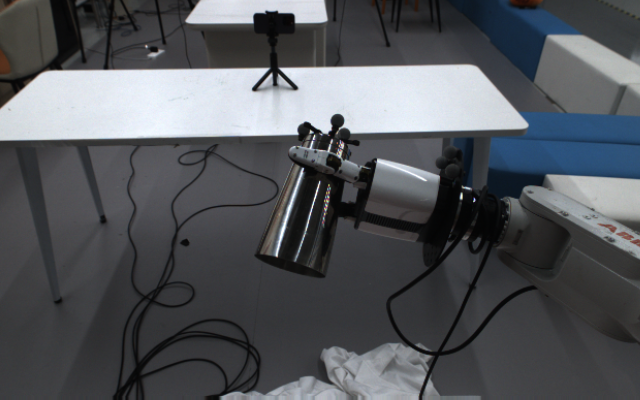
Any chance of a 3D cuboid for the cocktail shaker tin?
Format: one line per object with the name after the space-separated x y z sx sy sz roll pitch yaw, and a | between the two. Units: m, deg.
-0.013 0.003 0.622 0.093 0.093 0.170 12 72 14 | cocktail shaker tin
